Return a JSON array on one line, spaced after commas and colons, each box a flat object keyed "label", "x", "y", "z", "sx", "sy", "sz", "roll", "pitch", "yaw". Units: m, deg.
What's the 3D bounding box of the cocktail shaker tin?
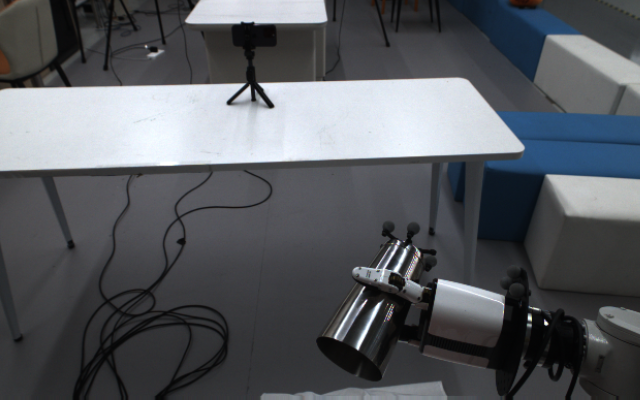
[{"label": "cocktail shaker tin", "x": 0.078, "y": 0.130, "z": 0.631, "sx": 0.093, "sy": 0.093, "sz": 0.170, "roll": 19, "pitch": 54, "yaw": 23}]
